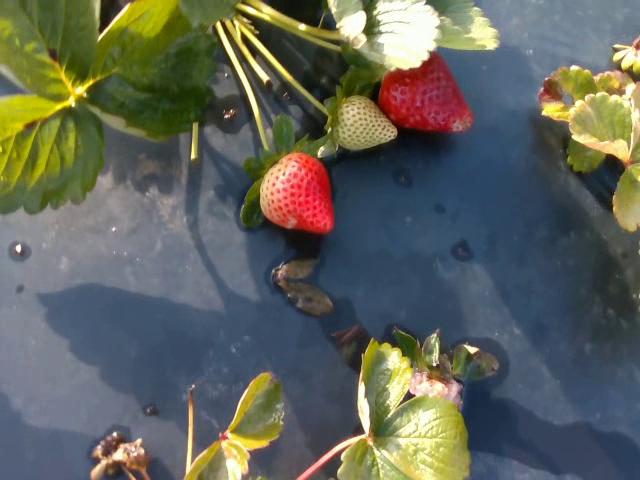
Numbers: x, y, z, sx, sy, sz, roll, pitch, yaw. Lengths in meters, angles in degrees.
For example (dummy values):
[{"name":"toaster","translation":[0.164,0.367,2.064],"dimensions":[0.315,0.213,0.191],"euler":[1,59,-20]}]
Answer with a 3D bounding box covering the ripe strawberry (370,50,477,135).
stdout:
[{"name":"ripe strawberry","translation":[0.063,-0.079,0.361],"dimensions":[0.064,0.049,0.050],"euler":[39,28,-5]}]
